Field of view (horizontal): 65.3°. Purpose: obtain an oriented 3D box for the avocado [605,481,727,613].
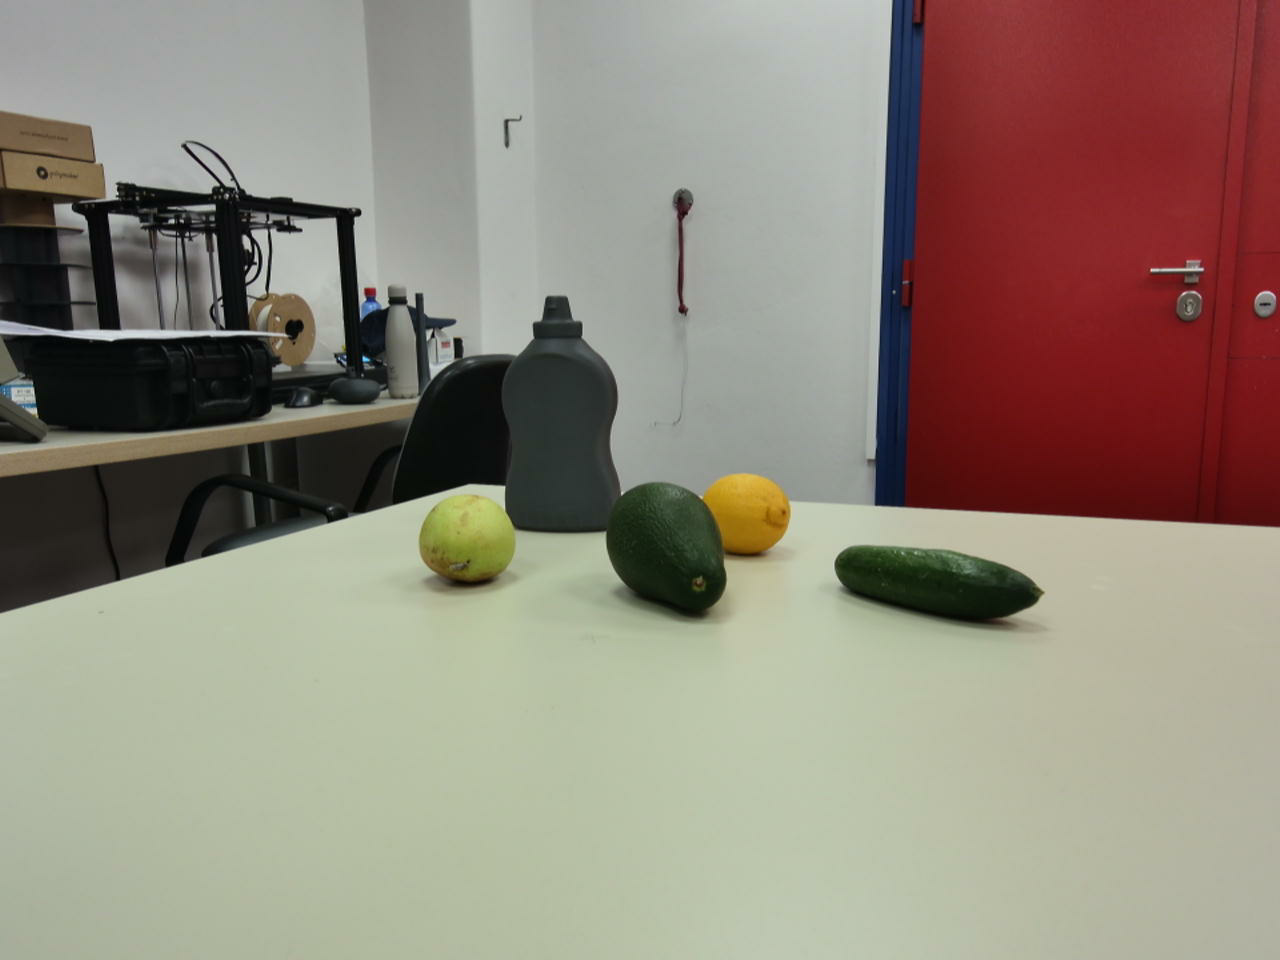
[{"bbox_3d":[0.015,0.039,0.609,0.072,0.071,0.109,0,7,0],"label":"avocado"}]
